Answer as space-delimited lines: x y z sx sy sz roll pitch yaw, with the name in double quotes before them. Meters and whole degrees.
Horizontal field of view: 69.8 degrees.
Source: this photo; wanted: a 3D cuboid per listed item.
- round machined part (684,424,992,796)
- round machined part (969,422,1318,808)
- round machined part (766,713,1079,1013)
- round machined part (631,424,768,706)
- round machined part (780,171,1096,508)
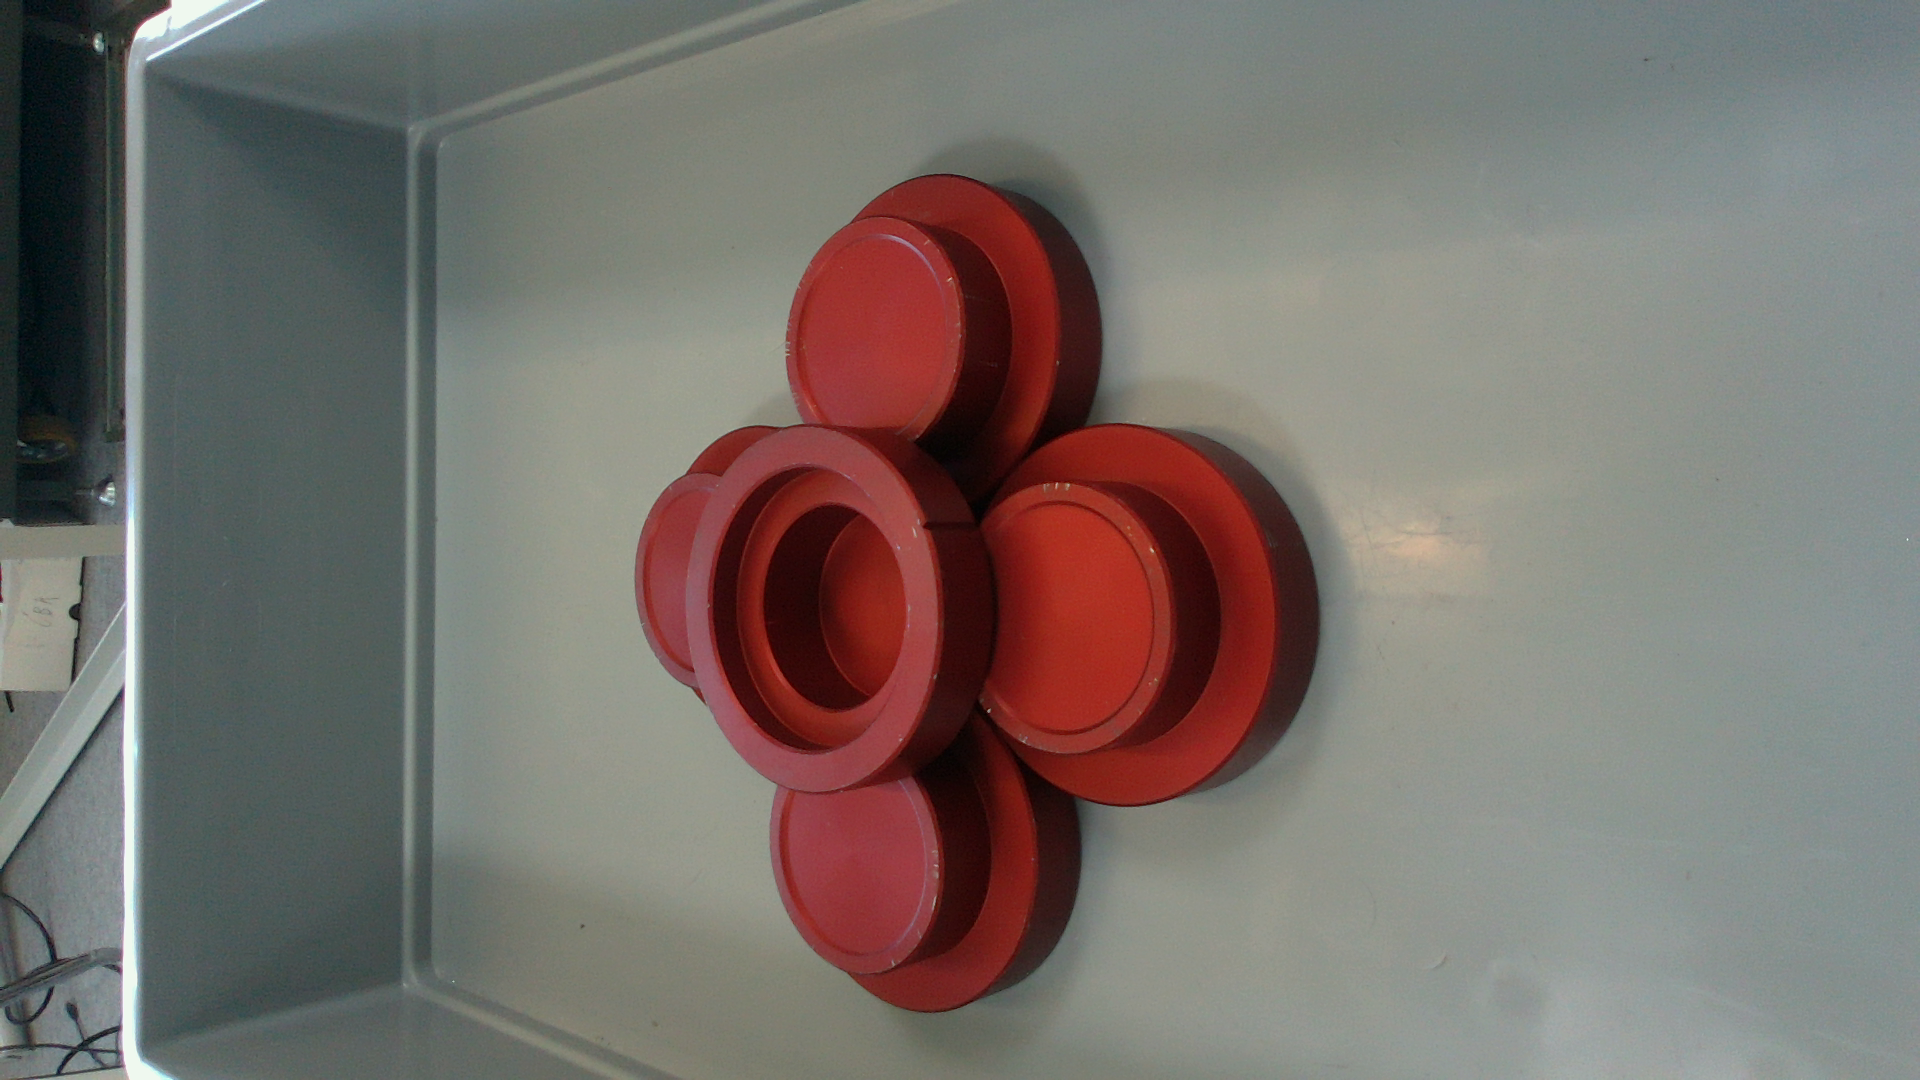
"round machined part" -0.029 0.018 0.378 0.098 0.042 0.098 0 90 40
"round machined part" 0.037 0.019 0.350 0.098 0.042 0.098 0 90 40
"round machined part" -0.018 0.086 0.396 0.098 0.042 0.098 -2 87 39
"round machined part" -0.067 0.012 0.438 0.098 0.042 0.098 0 90 40
"round machined part" -0.013 -0.055 0.391 0.098 0.042 0.098 0 90 40
